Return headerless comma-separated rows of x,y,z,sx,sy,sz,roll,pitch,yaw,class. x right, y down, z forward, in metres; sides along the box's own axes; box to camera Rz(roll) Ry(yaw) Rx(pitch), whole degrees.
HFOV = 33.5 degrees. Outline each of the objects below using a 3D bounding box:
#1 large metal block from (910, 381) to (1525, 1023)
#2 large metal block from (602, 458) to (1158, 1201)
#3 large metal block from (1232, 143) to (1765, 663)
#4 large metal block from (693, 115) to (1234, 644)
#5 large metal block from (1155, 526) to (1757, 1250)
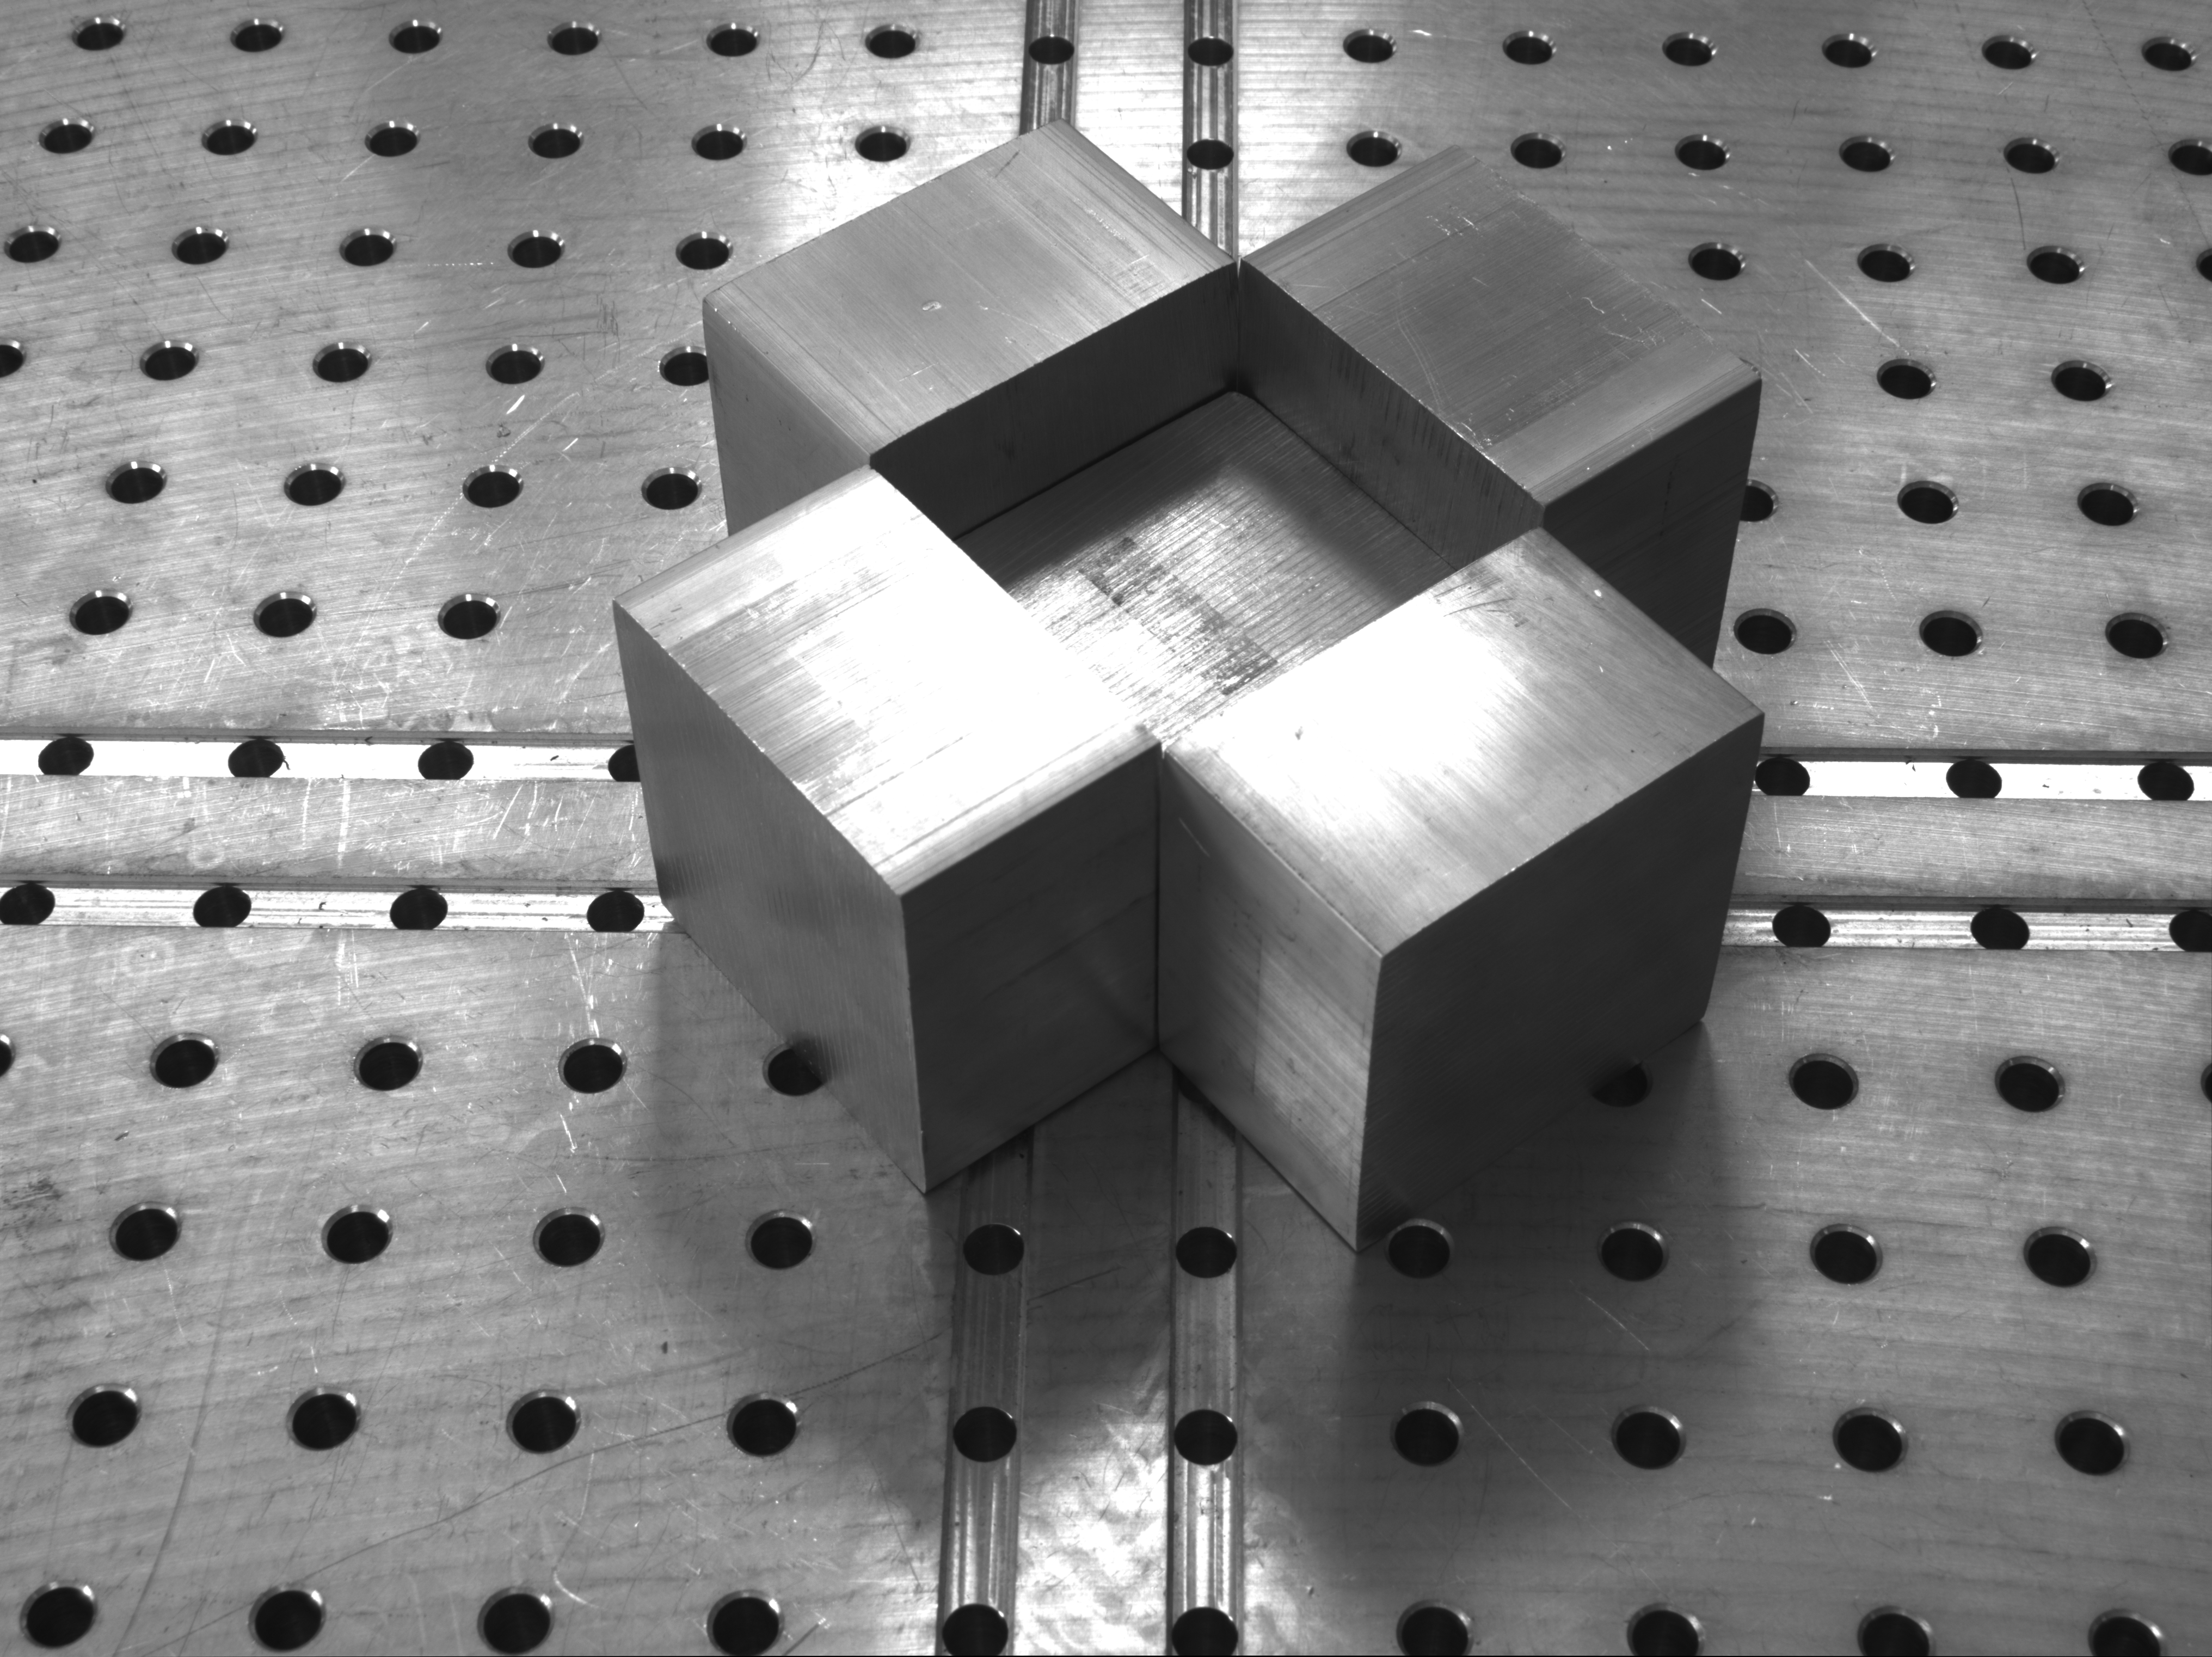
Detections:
0.017,-0.022,0.646,0.080,0.050,0.080,-32,55,-22,large metal block
-0.036,0.000,0.609,0.050,0.080,0.080,-31,57,-23,large metal block
0.067,-0.062,0.662,0.050,0.080,0.080,-31,57,-24,large metal block
-0.024,-0.070,0.669,0.080,0.080,0.050,-31,56,-23,large metal block
0.055,0.010,0.603,0.080,0.080,0.050,-30,56,-23,large metal block
